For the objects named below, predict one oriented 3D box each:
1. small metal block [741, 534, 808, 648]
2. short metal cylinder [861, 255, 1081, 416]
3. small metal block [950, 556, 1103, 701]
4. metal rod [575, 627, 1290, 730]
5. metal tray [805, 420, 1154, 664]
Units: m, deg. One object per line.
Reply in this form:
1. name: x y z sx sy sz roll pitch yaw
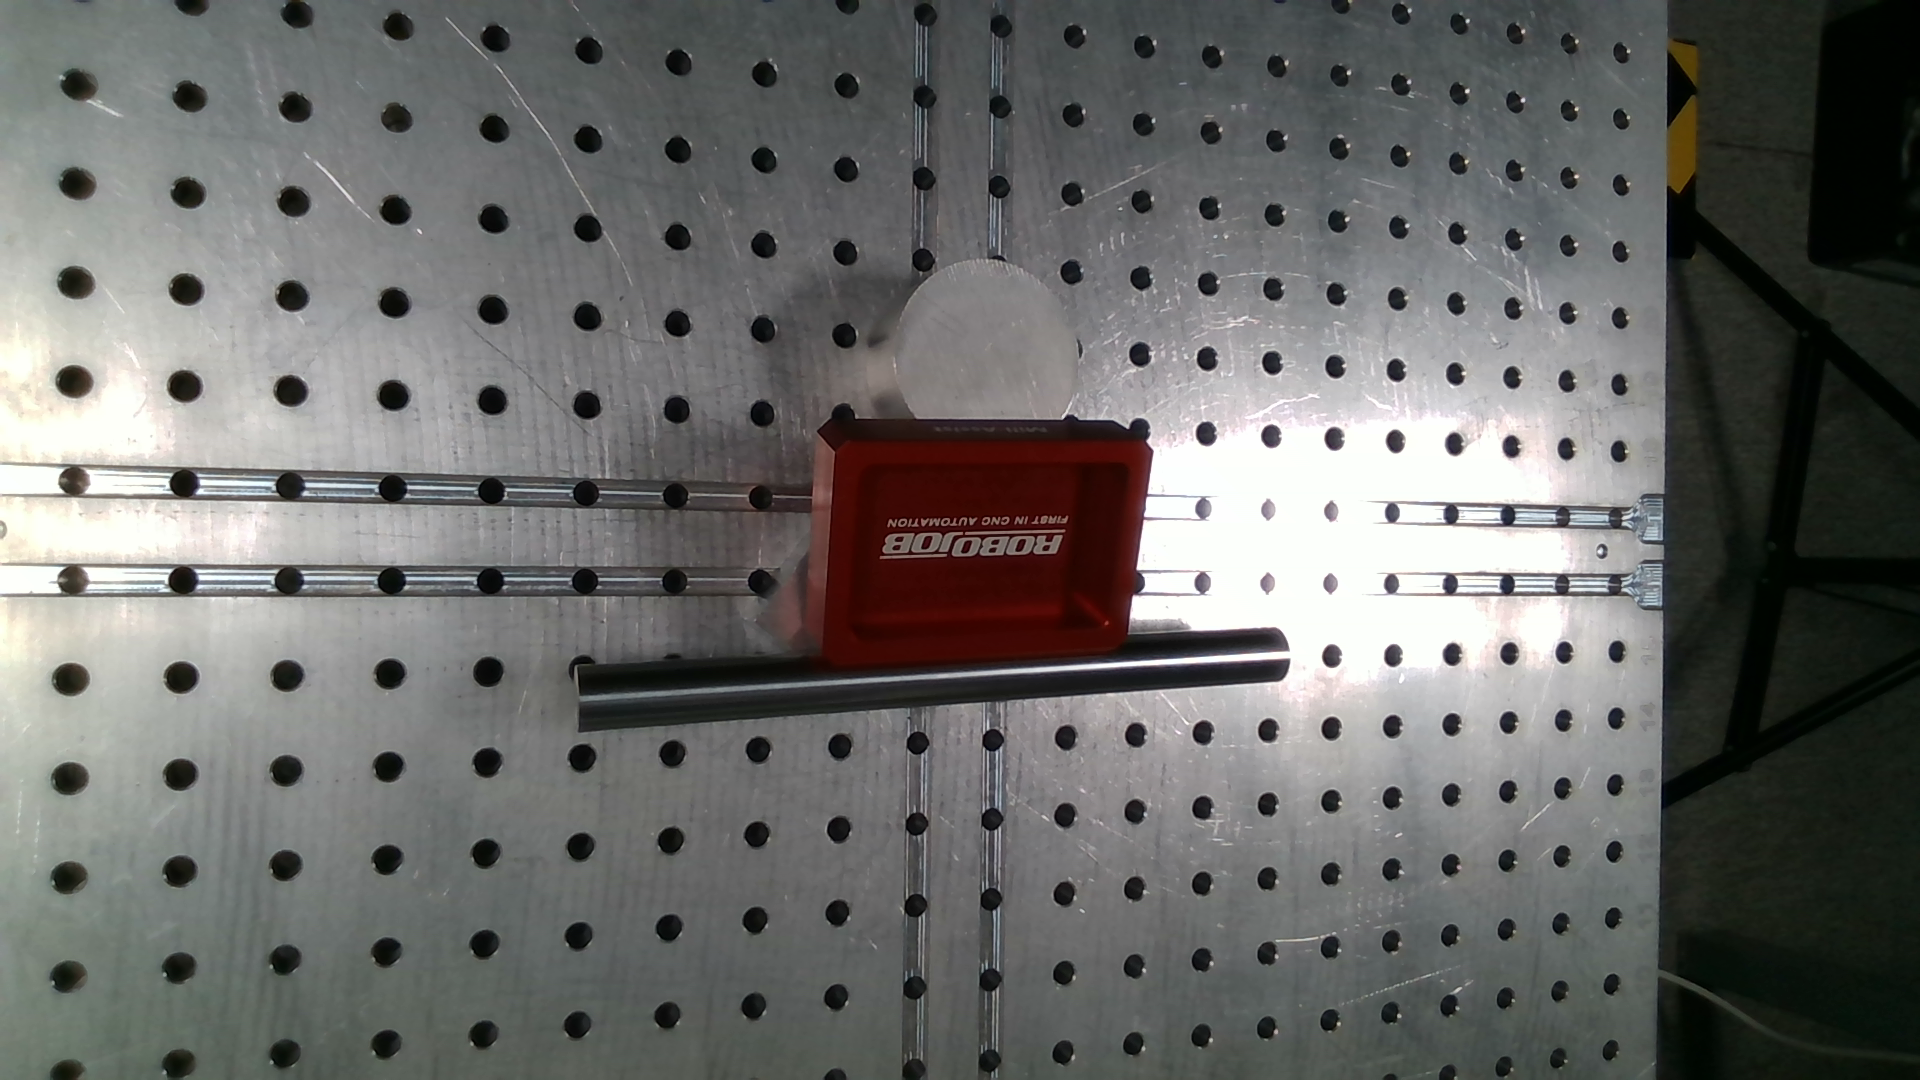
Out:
1. small metal block: -0.054 0.028 0.568 0.050 0.025 0.050 41 77 -16
2. short metal cylinder: 0.003 -0.074 0.575 0.080 0.050 0.080 0 90 -20
3. small metal block: 0.029 0.038 0.599 0.050 0.025 0.050 -16 96 -20
4. metal rod: -0.001 0.054 0.561 0.300 0.025 0.025 -2 91 -20
5. metal tray: 0.007 -0.001 0.546 0.130 0.030 0.090 -2 110 -20
